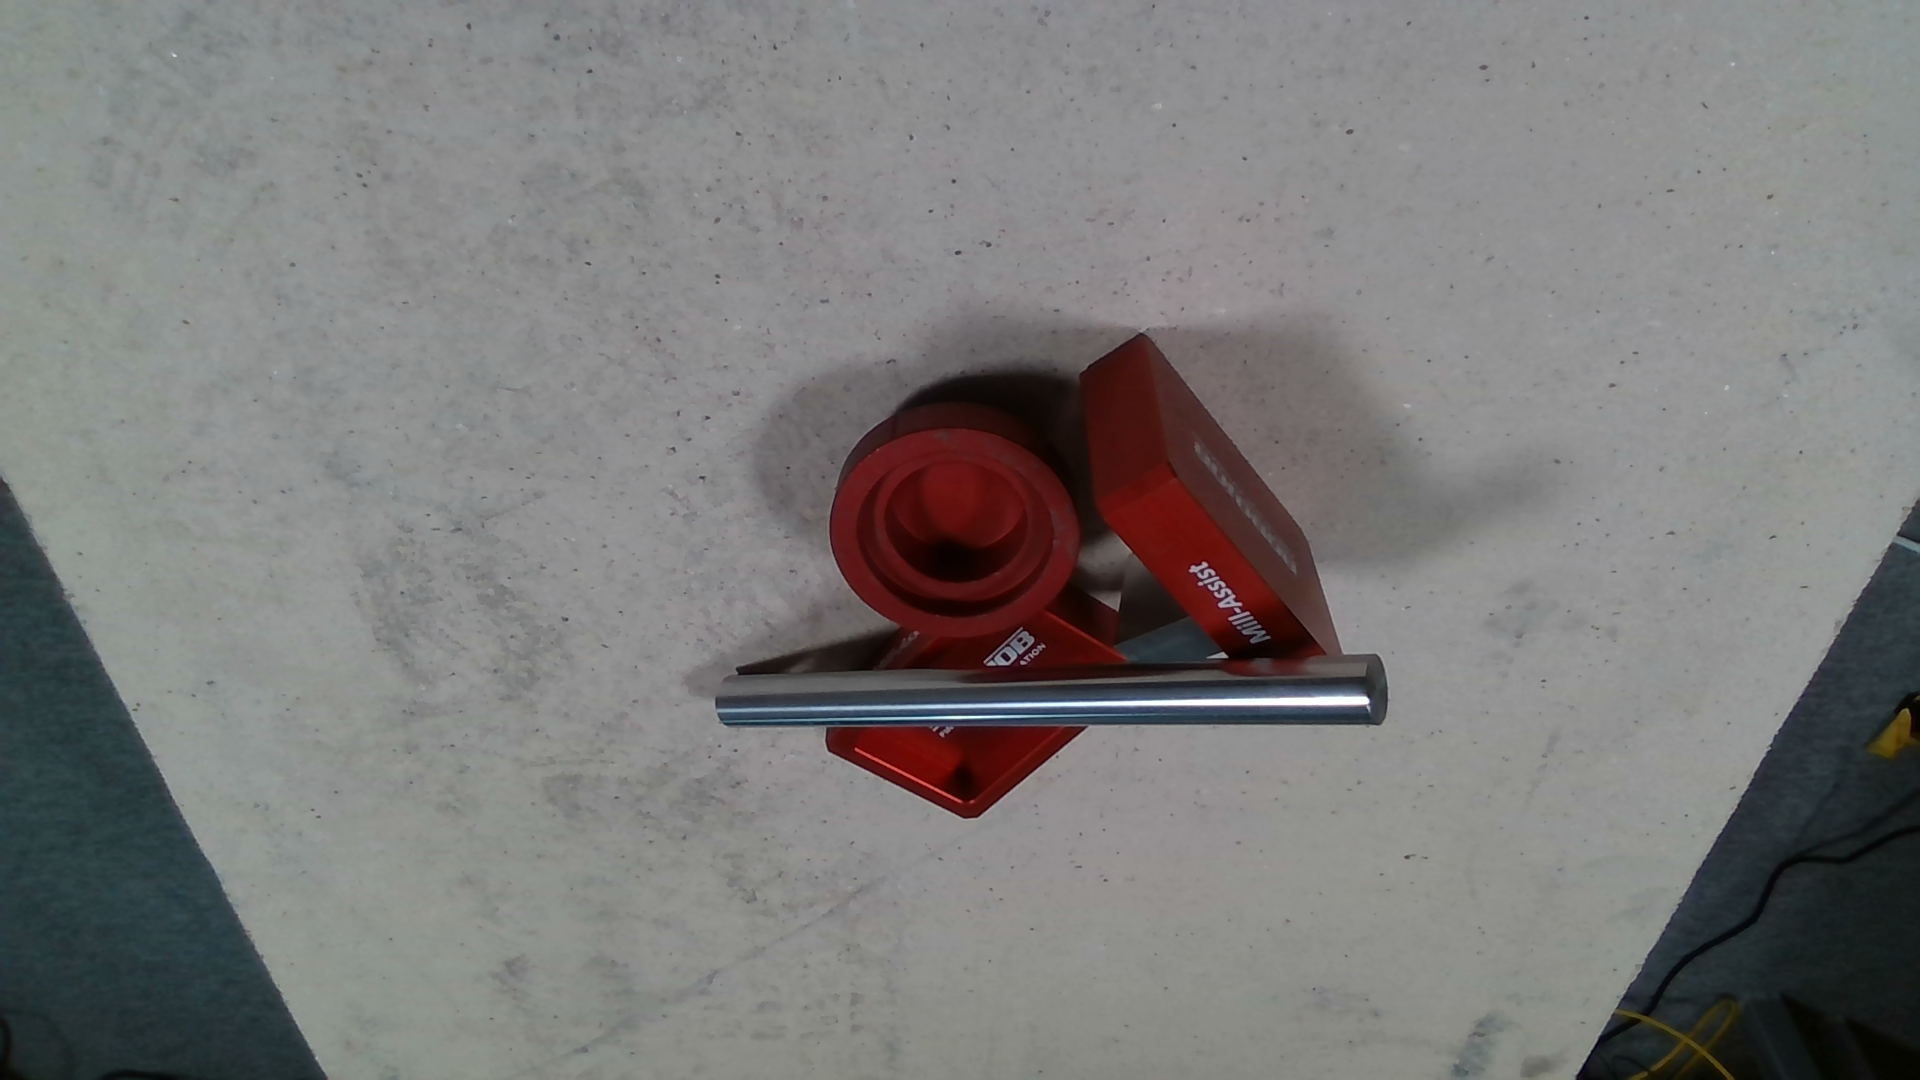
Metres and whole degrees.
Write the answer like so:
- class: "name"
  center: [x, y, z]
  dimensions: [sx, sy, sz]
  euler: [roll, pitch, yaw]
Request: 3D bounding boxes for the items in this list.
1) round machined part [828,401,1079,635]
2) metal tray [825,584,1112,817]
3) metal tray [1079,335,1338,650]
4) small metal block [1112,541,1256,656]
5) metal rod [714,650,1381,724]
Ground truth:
- class: "round machined part"
  center: [-0.002, -0.013, 0.553]
  dimensions: [0.098, 0.042, 0.098]
  euler: [2, 124, 3]
- class: "metal tray"
  center: [0.010, 0.068, 0.633]
  dimensions: [0.090, 0.030, 0.130]
  euler: [31, 124, -23]
- class: "metal tray"
  center: [0.097, -0.006, 0.531]
  dimensions: [0.030, 0.090, 0.130]
  euler: [-31, 124, 23]
- class: "small metal block"
  center: [0.094, 0.023, 0.576]
  dimensions: [0.050, 0.050, 0.025]
  euler: [-26, 124, 38]
- class: "metal rod"
  center: [0.019, 0.062, 0.562]
  dimensions: [0.300, 0.025, 0.025]
  euler: [-5, 134, 33]
